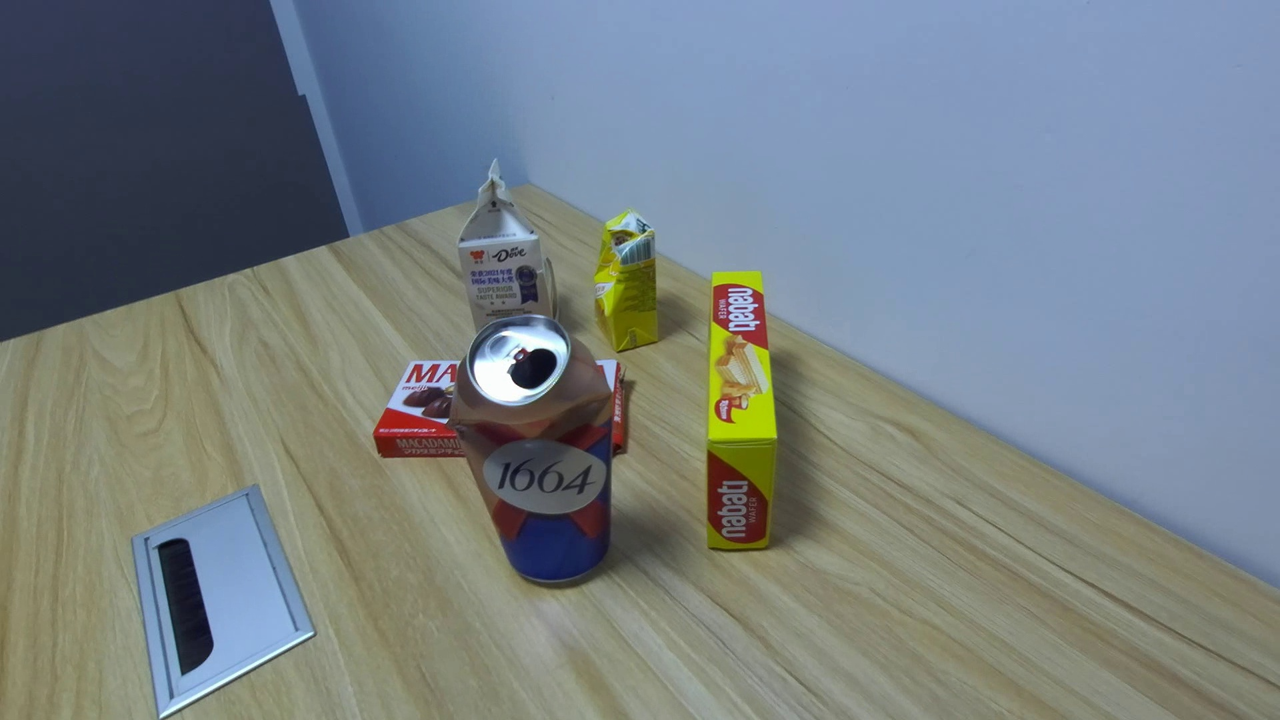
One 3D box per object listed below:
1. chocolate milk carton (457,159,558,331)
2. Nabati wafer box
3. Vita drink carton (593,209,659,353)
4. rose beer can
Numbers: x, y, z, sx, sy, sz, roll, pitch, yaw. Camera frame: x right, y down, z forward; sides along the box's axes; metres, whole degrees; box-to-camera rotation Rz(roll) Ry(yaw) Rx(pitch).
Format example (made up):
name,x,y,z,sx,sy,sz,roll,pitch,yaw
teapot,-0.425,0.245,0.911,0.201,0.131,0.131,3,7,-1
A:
name,x,y,z,sx,sy,sz,roll,pitch,yaw
chocolate milk carton,-0.118,-0.097,0.633,0.073,0.155,0.084,-4,33,0
Nabati wafer box,0.067,0.024,0.490,0.042,0.093,0.202,0,35,6
Vita drink carton,-0.015,-0.071,0.624,0.046,0.110,0.071,-13,34,-14
rose beer can,-0.056,0.055,0.403,0.069,0.168,0.069,-31,46,-30
